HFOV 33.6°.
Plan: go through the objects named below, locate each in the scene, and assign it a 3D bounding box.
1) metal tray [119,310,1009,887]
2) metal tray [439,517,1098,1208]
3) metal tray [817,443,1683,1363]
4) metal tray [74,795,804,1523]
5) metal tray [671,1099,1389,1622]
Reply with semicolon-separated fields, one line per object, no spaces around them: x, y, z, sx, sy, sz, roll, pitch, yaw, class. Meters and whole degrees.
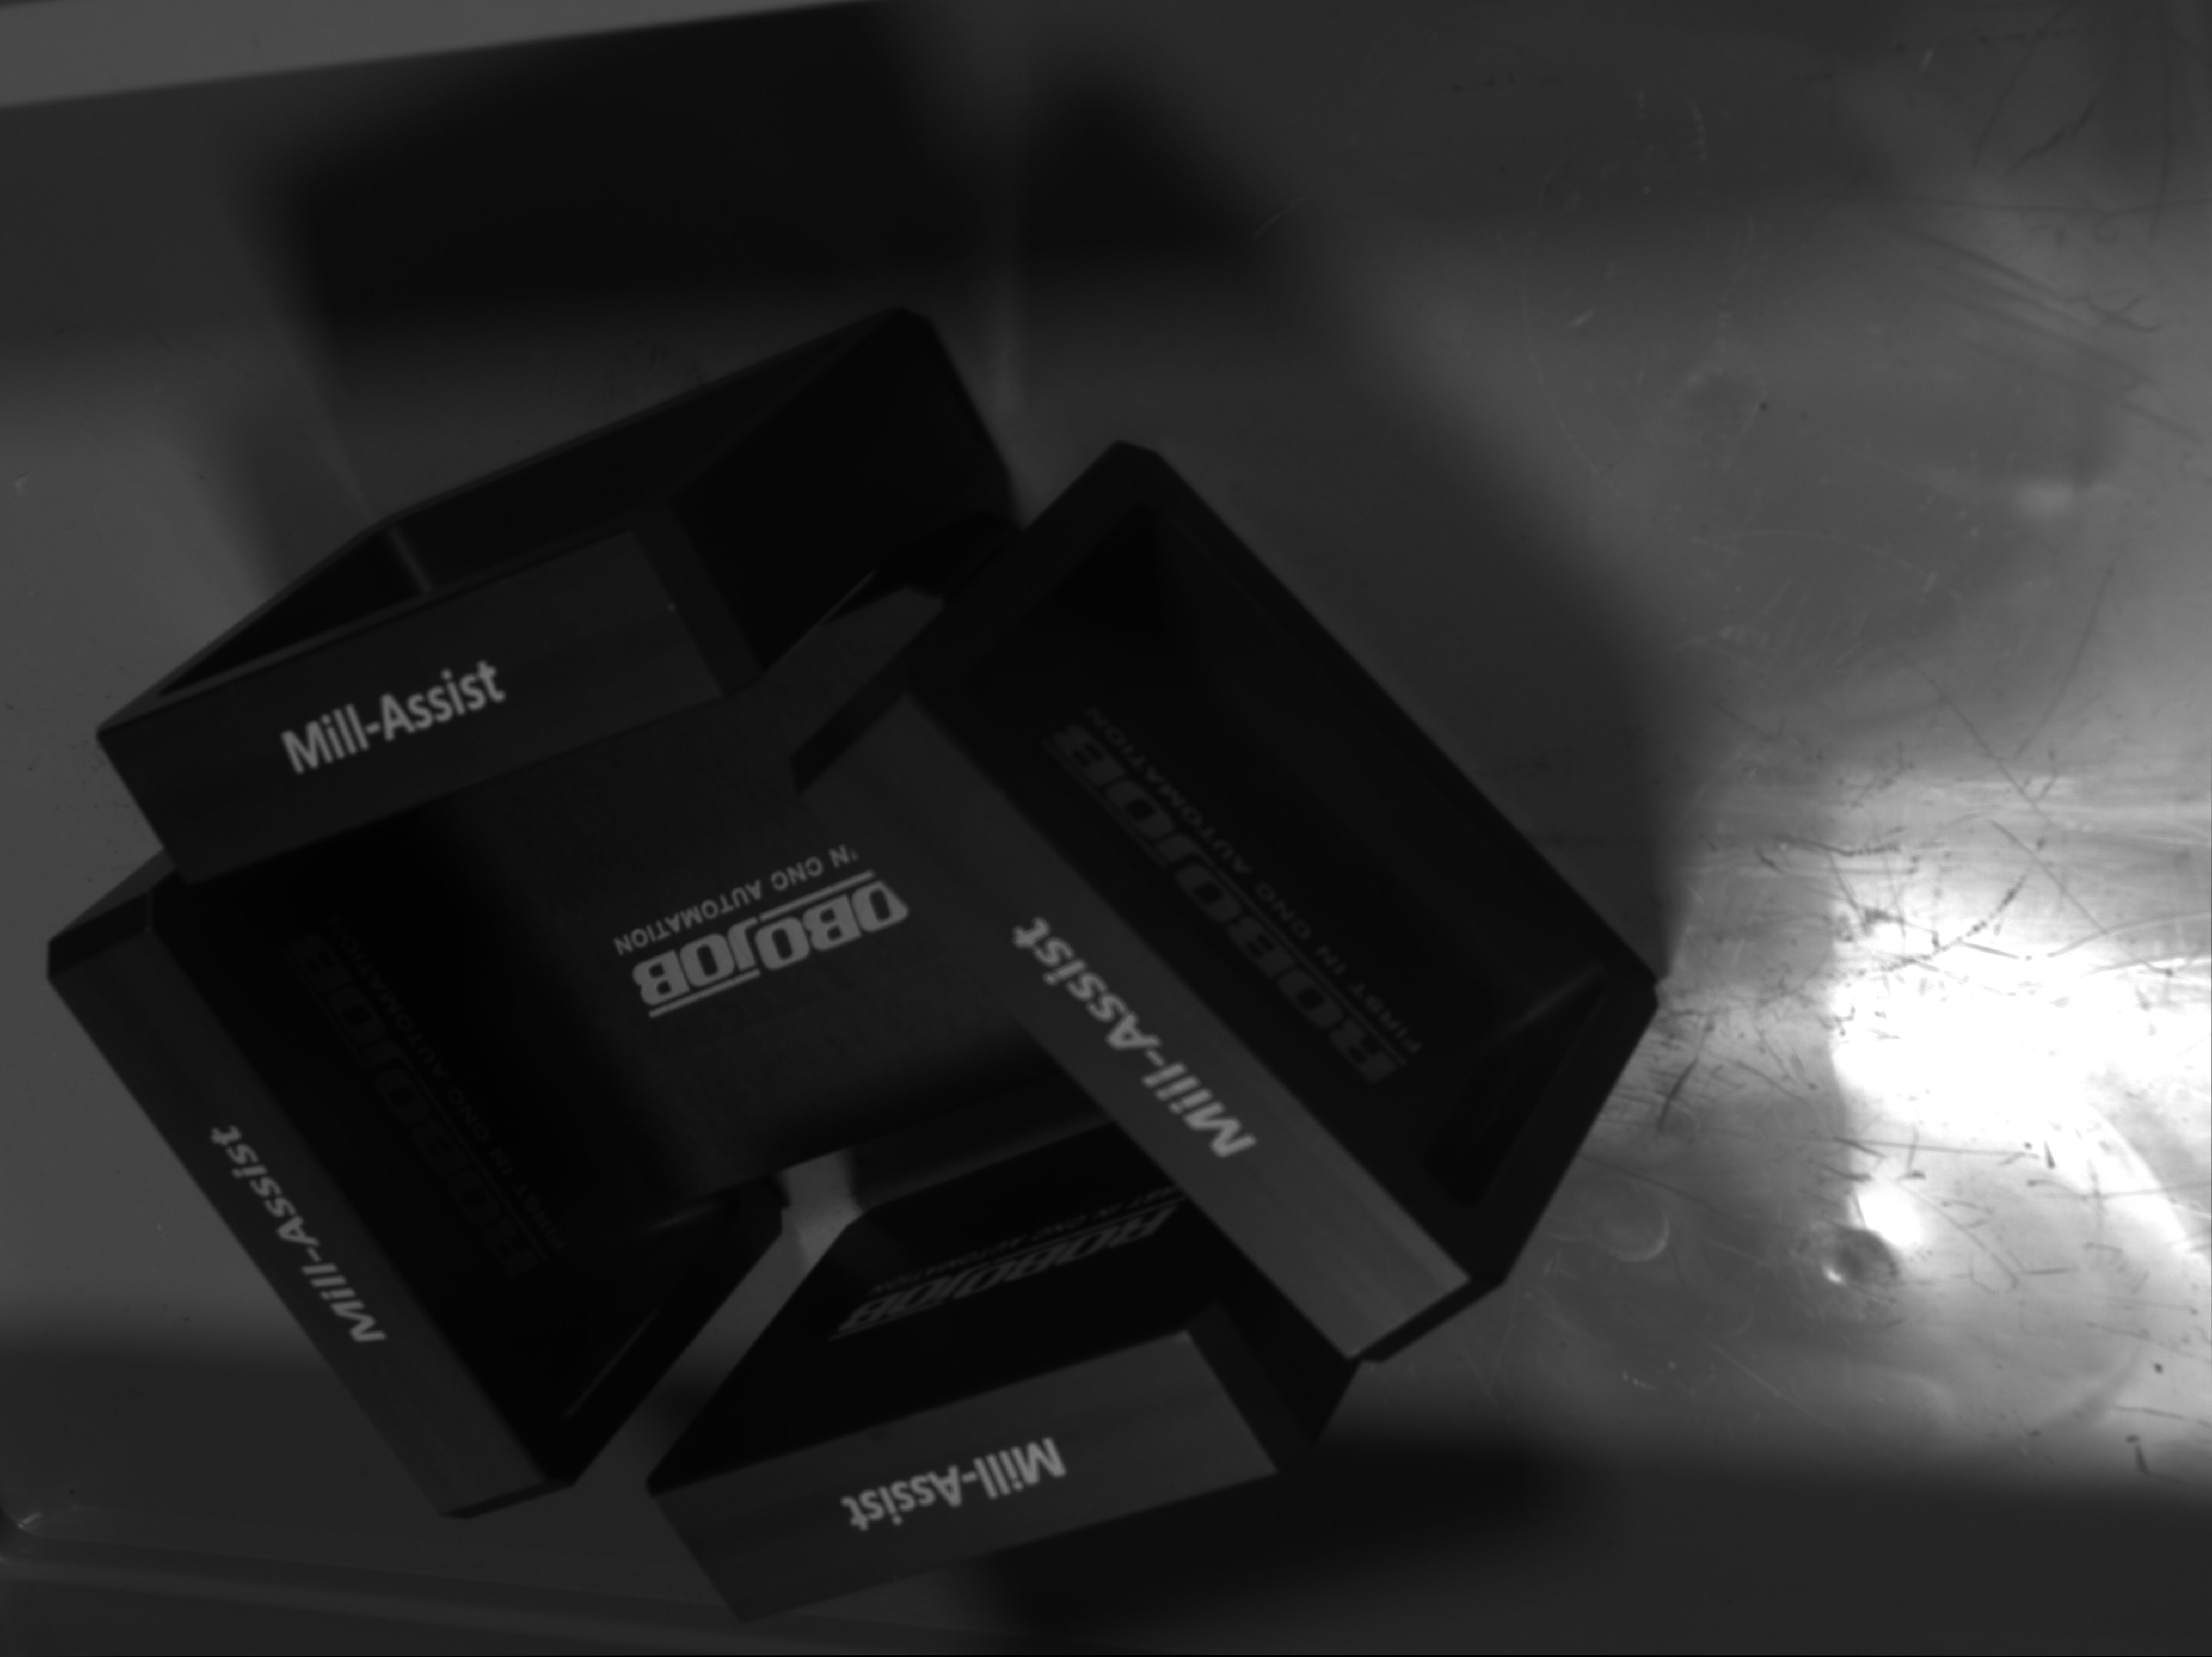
-0.090;-0.038;0.610;0.130;0.090;0.030;-17;110;33;metal tray
-0.047;0.009;0.654;0.130;0.030;0.090;-22;107;34;metal tray
0.026;0.010;0.581;0.130;0.090;0.030;46;129;-4;metal tray
-0.120;0.050;0.678;0.030;0.090;0.130;-23;106;35;metal tray
-0.004;0.088;0.643;0.130;0.090;0.030;-22;107;35;metal tray
